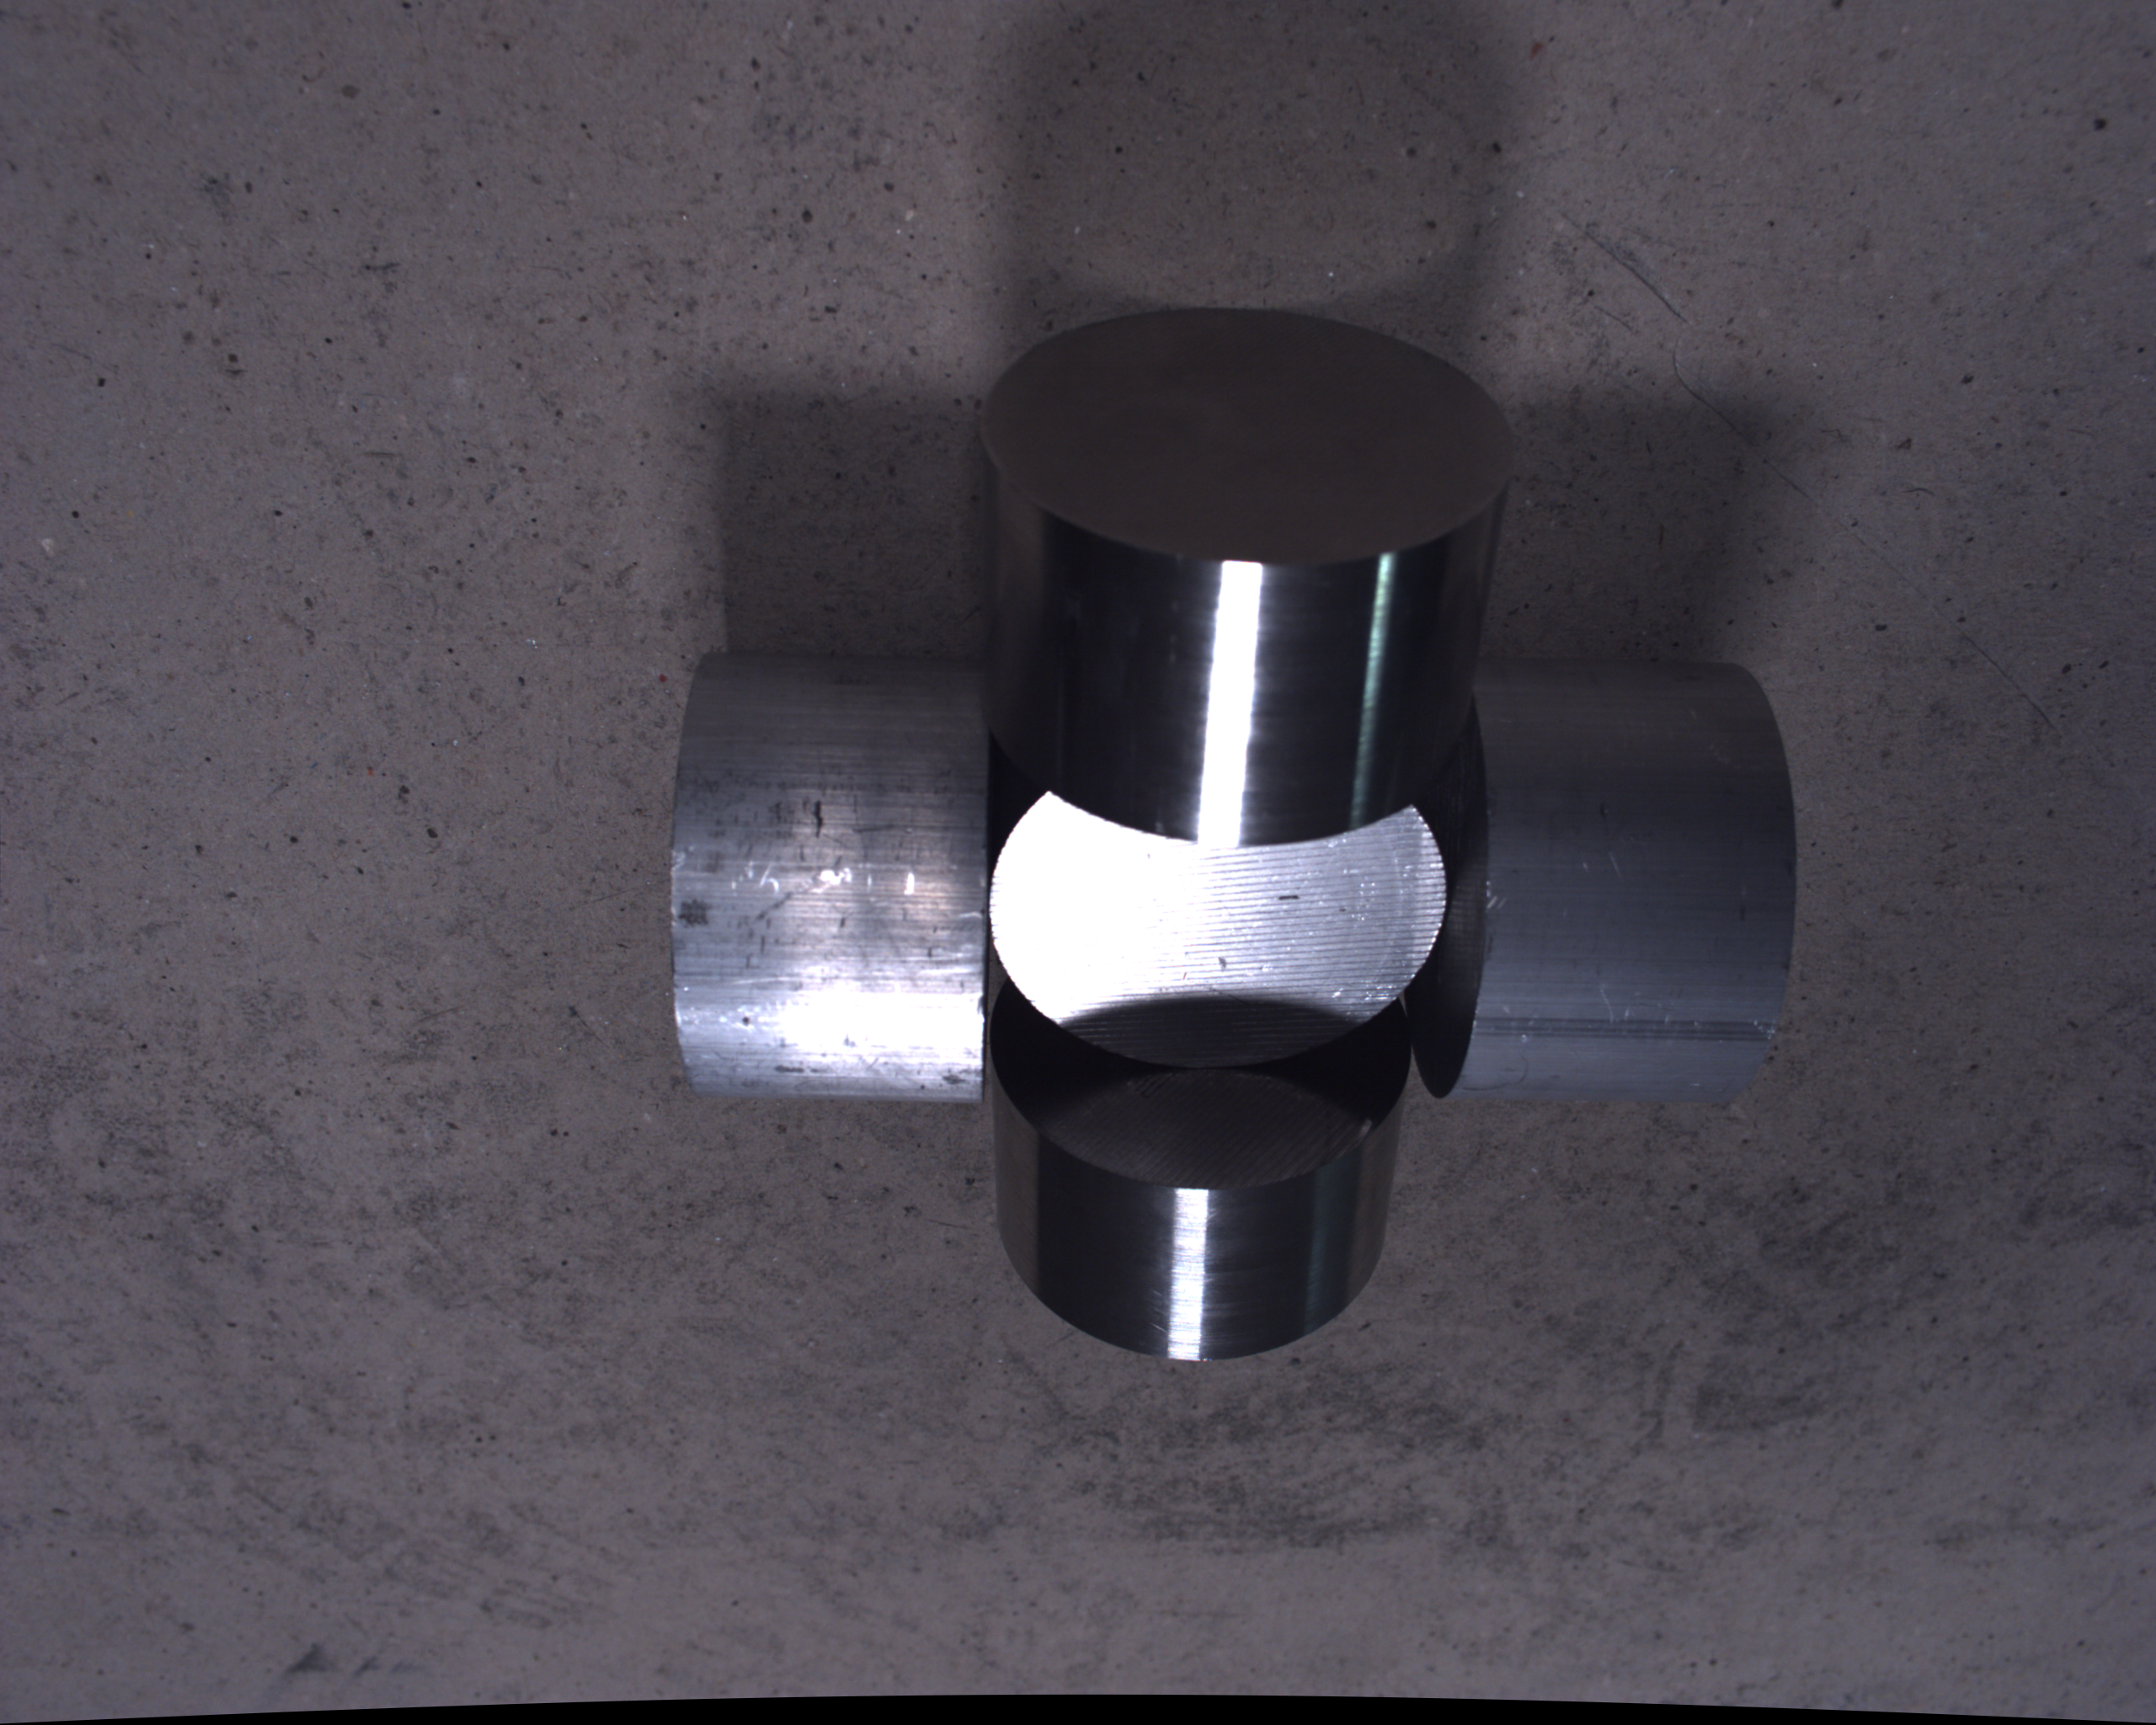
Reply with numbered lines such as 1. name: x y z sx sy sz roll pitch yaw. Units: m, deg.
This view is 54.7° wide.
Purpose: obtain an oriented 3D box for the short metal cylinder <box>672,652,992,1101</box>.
1. short metal cylinder: -0.041 0.002 0.375 0.050 0.080 0.079 2 130 -2

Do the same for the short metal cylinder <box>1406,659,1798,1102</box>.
1. short metal cylinder: 0.090 0.003 0.377 0.050 0.080 0.079 2 130 -2

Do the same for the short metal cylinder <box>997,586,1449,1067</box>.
1. short metal cylinder: 0.025 -0.008 0.386 0.081 0.050 0.079 0 130 0

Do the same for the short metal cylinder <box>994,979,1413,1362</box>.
1. short metal cylinder: 0.024 0.052 0.417 0.081 0.080 0.050 0 130 -1

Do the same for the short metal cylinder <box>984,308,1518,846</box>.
1. short metal cylinder: 0.025 -0.047 0.332 0.081 0.080 0.050 1 130 -2
